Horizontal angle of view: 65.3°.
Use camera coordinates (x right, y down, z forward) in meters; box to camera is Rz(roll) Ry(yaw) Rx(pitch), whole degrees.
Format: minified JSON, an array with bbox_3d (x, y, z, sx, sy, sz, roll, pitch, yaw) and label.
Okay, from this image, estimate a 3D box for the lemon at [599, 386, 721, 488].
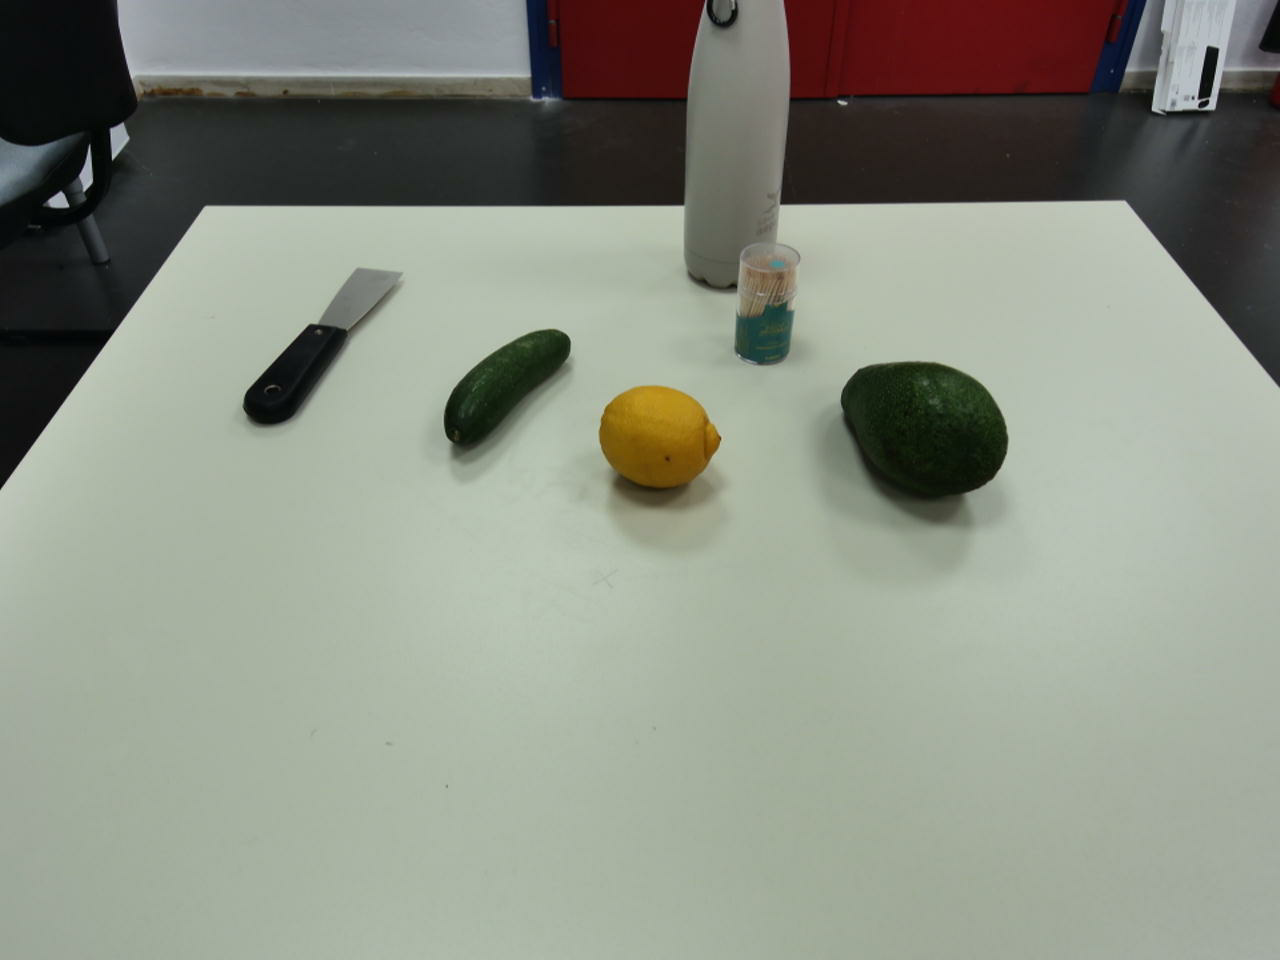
[{"bbox_3d":[0.010,-0.025,0.591,0.067,0.059,0.060,30,48,31],"label":"lemon"}]
